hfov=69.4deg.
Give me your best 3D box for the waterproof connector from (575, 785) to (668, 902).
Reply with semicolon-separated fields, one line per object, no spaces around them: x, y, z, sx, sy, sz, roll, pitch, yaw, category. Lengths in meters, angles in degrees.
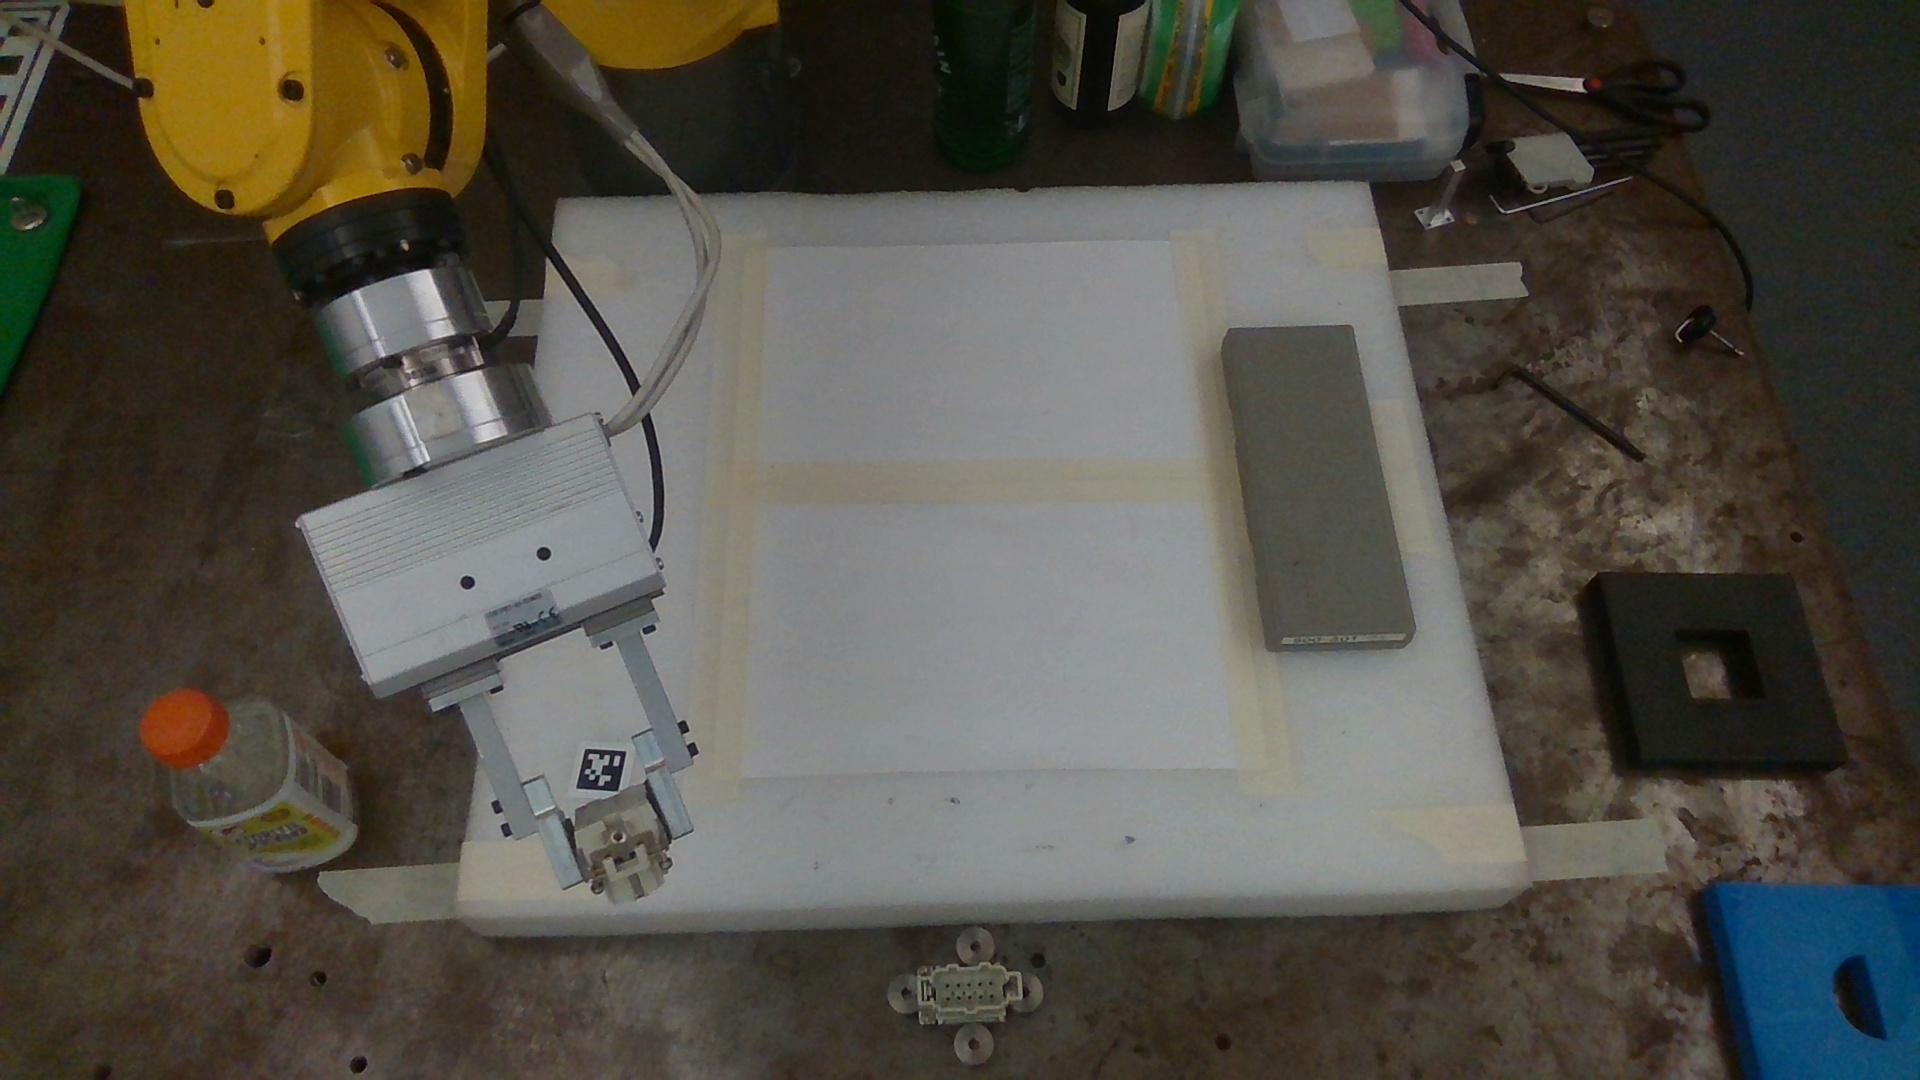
-0.156;0.142;0.649;0.036;0.069;0.038;-23;97;-10;waterproof connector
